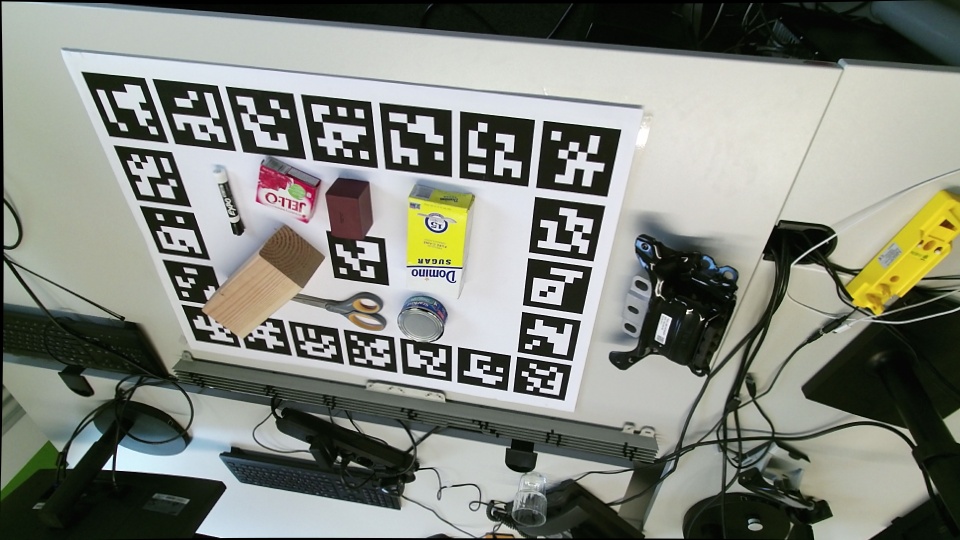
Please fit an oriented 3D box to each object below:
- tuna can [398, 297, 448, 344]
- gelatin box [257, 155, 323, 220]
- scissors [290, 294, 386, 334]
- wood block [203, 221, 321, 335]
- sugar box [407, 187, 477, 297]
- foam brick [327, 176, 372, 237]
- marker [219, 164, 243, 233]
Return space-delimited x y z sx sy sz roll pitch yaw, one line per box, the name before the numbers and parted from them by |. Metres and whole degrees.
tuna can | -0.102 0.090 0.962 0.086 0.033 0.086 5 125 7
gelatin box | -0.302 -0.130 0.852 0.089 0.030 0.073 24 125 -6
scissors | -0.272 0.065 0.993 0.203 0.016 0.088 13 126 -1
wood block | -0.389 0.016 0.939 0.206 0.090 0.090 -33 113 30
sugar box | -0.065 -0.042 0.860 0.093 0.045 0.176 13 126 3
foam brick | -0.202 -0.100 0.836 0.053 0.051 0.078 10 125 4
marker | -0.412 -0.116 0.889 0.020 0.019 0.121 10 124 4
